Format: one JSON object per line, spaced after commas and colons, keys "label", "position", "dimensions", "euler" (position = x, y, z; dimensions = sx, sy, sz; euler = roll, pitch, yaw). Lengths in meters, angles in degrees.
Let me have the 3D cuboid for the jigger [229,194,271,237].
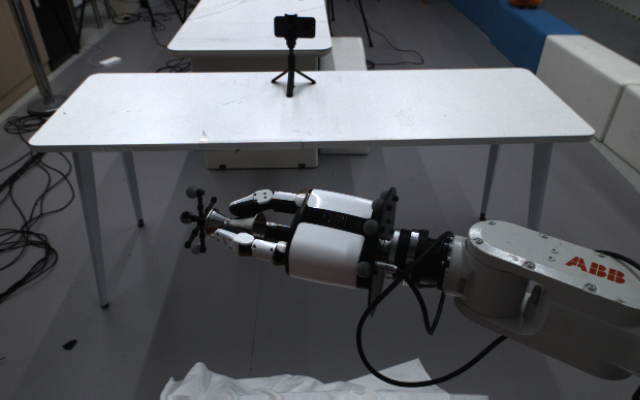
{"label": "jigger", "position": [-0.103, 0.031, 0.633], "dimensions": [0.071, 0.043, 0.043], "euler": [6, 34, 16]}
